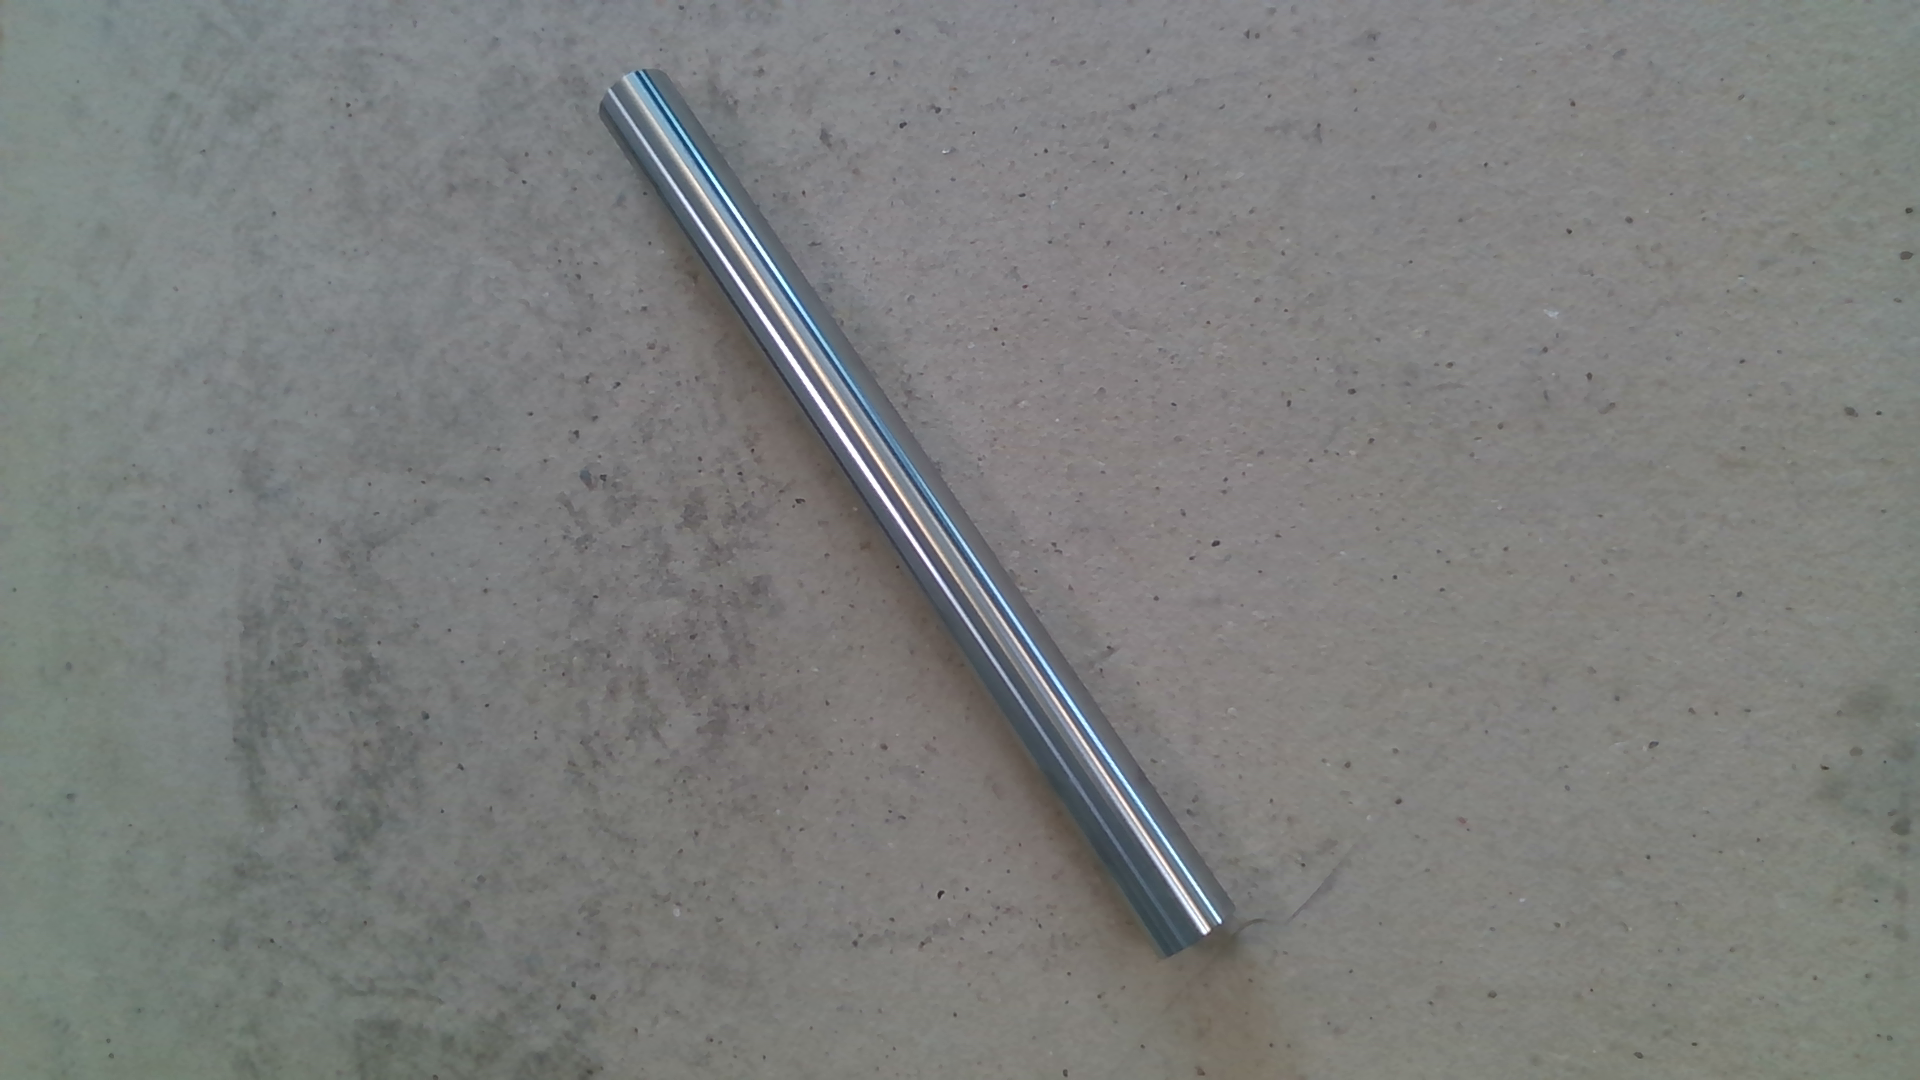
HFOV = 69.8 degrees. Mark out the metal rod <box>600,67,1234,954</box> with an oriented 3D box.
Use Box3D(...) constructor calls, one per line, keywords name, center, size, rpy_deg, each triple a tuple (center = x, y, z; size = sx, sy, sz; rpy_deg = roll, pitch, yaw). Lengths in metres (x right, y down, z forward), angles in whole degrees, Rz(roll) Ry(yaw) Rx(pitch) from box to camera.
Box3D(name="metal rod", center=(-0.019, -0.017, 0.401), size=(0.025, 0.025, 0.300), rpy_deg=(-37, 78, 16))
